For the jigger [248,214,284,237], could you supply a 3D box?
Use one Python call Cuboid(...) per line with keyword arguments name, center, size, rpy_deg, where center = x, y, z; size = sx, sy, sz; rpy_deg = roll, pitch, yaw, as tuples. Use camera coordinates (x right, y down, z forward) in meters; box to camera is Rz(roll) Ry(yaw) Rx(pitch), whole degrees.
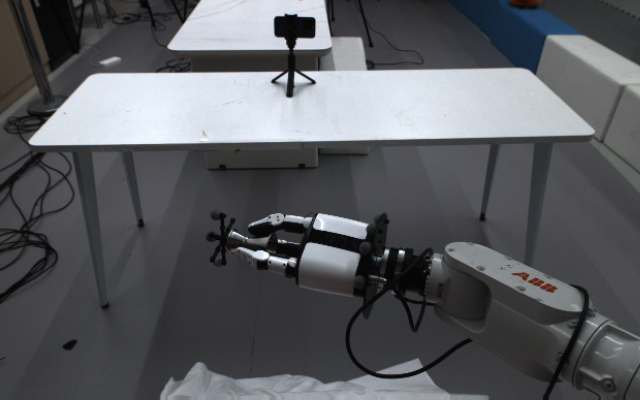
Cuboid(name="jigger", center=(-0.099, 0.066, 0.758), size=(0.071, 0.043, 0.043), rpy_deg=(6, 34, 15))
